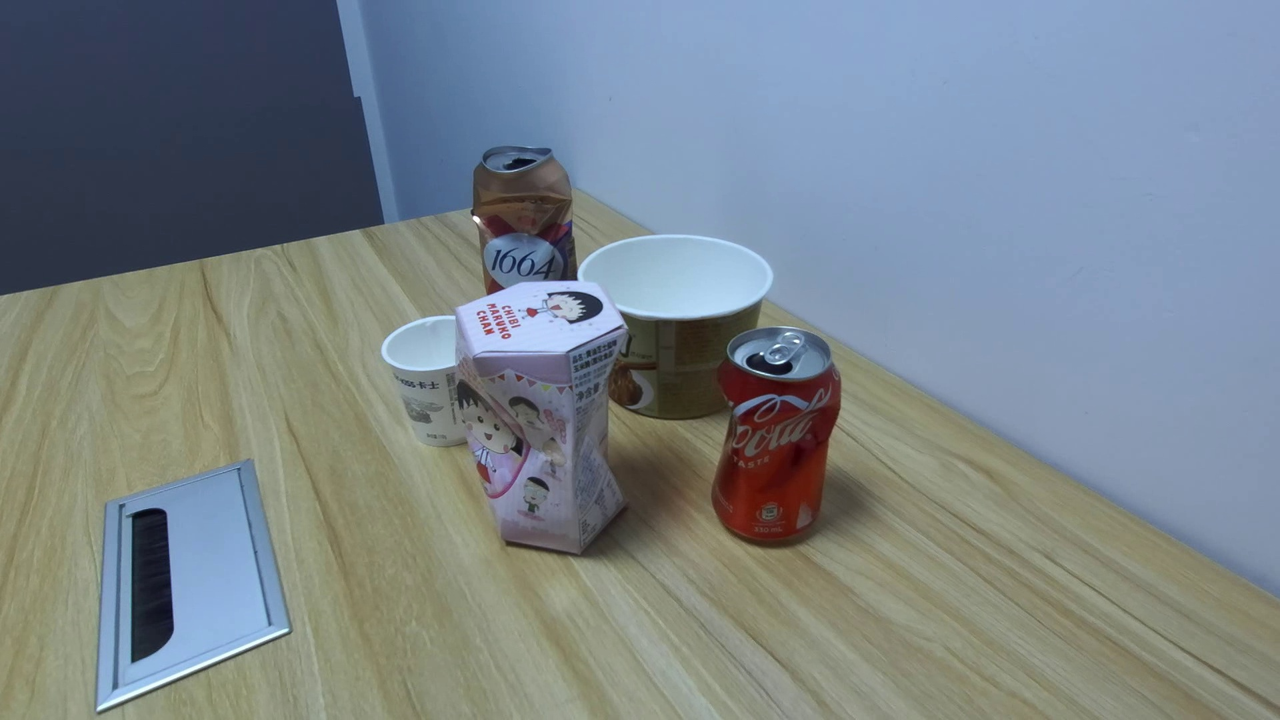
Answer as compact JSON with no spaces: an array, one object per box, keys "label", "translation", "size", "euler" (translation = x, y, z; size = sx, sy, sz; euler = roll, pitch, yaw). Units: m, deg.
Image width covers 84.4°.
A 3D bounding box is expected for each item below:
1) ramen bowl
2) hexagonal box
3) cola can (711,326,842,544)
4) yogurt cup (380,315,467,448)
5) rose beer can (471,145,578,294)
[{"label":"ramen bowl","translation":[0.025,-0.024,0.525],"size":[0.140,0.095,0.140],"euler":[1,31,0]},{"label":"hexagonal box","translation":[-0.052,0.030,0.401],"size":[0.088,0.135,0.093],"euler":[18,37,27]},{"label":"cola can","translation":[0.074,0.041,0.397],"size":[0.066,0.117,0.066],"euler":[-3,31,-5]},{"label":"yogurt cup","translation":[-0.133,0.016,0.482],"size":[0.072,0.068,0.072],"euler":[0,31,0]},{"label":"rose beer can","translation":[-0.088,-0.085,0.561],"size":[0.074,0.162,0.068],"euler":[-12,33,-16]}]
